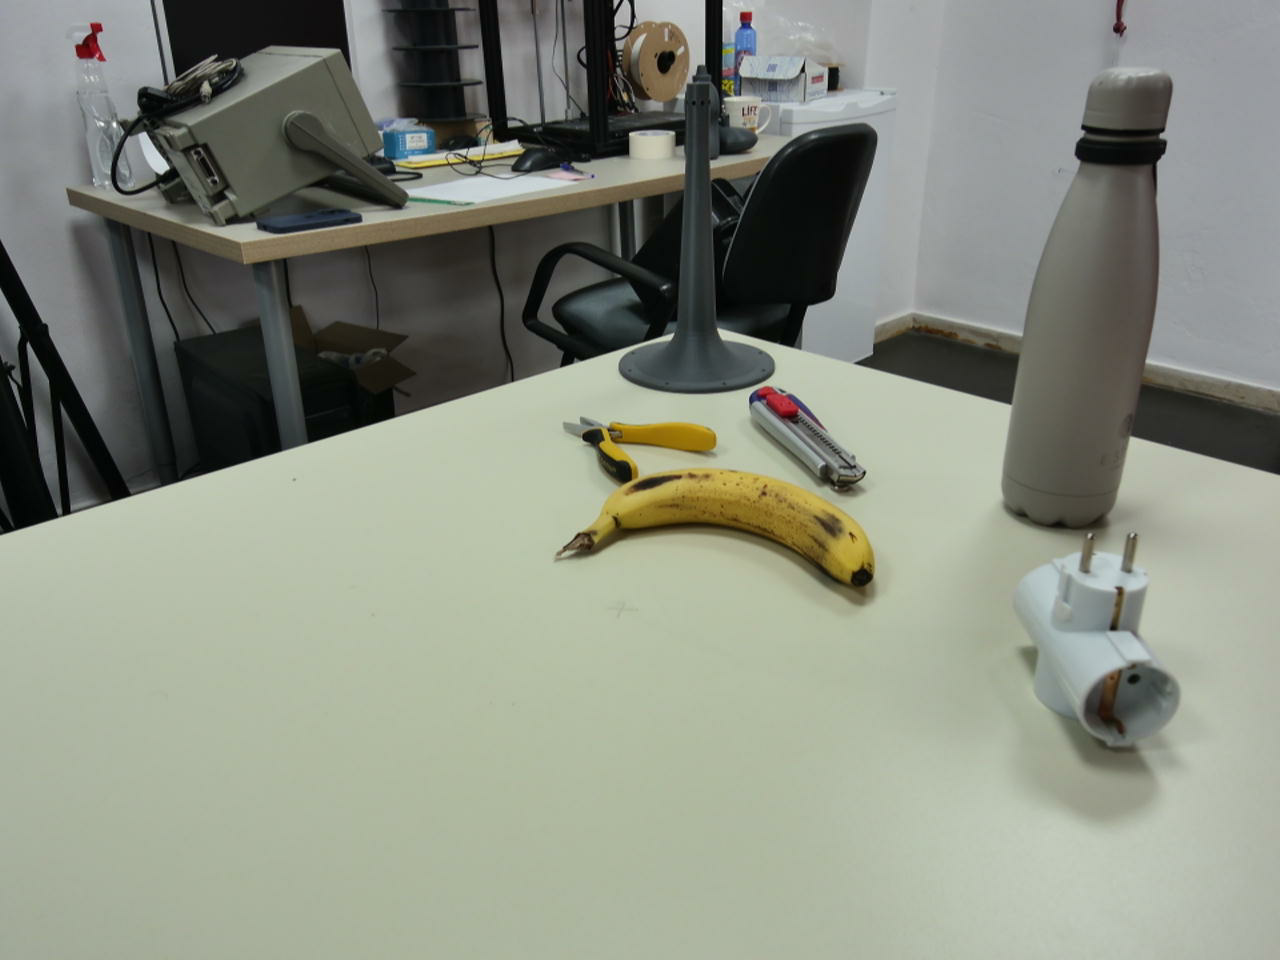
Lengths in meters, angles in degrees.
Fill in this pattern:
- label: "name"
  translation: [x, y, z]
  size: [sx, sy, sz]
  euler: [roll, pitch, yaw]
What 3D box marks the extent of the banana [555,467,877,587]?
- label: "banana"
  translation: [0.058, 0.026, 0.627]
  size: [0.186, 0.038, 0.097]
  euler: [8, 25, 18]
